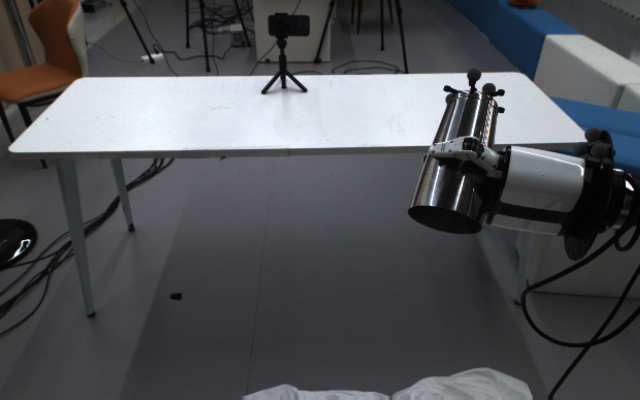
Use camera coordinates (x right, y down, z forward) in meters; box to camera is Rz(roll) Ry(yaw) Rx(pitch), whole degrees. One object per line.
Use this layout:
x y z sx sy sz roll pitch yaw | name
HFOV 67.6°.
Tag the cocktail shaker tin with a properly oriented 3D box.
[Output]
0.181 -0.051 0.626 0.093 0.093 0.170 14 73 16 | cocktail shaker tin
